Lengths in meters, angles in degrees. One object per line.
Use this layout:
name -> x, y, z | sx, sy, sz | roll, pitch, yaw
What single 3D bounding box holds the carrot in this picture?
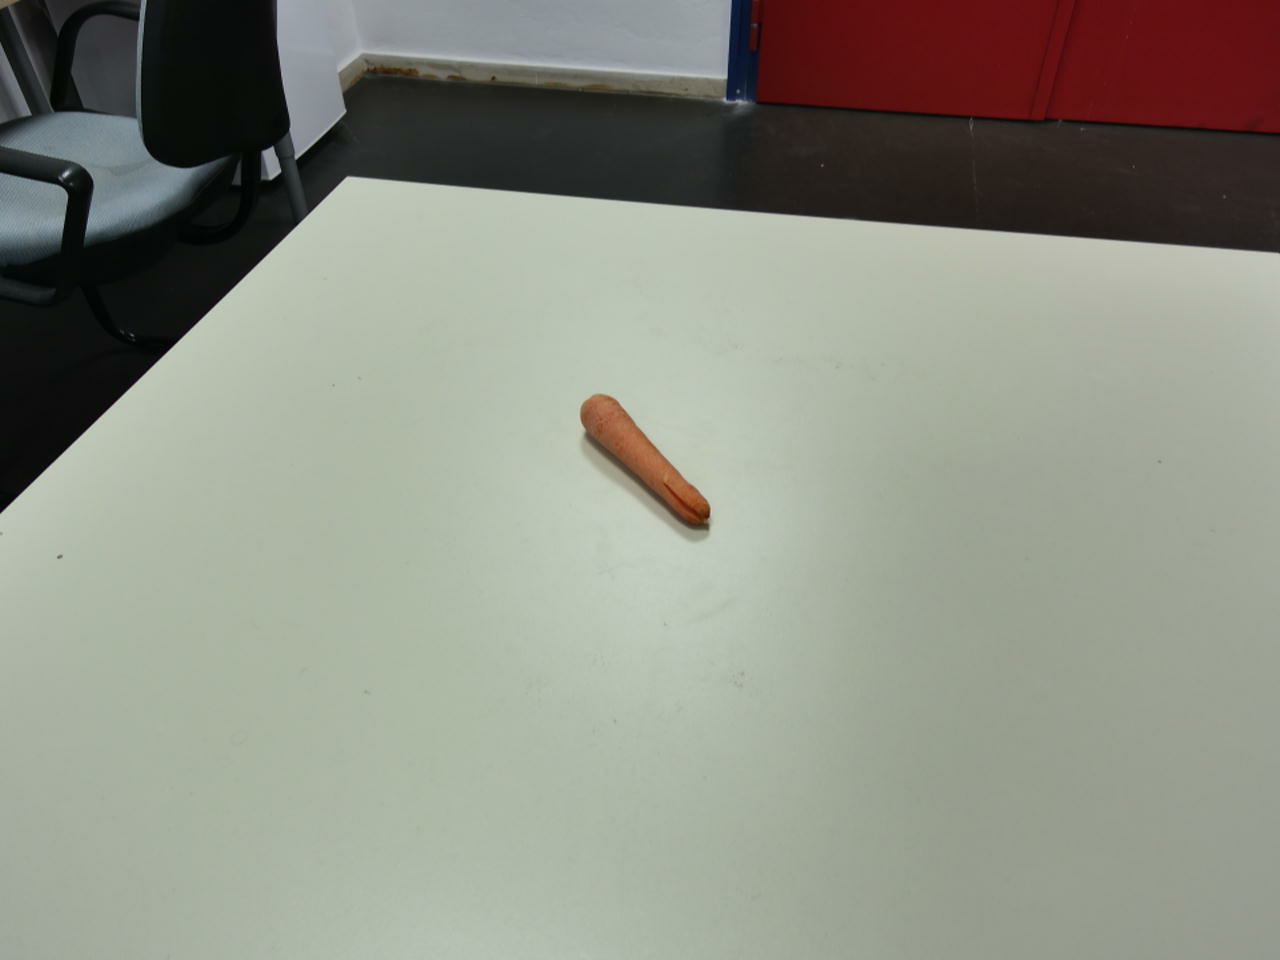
carrot -> 0.001, -0.017, 0.647 | 0.030, 0.032, 0.136 | -22, 44, -25
